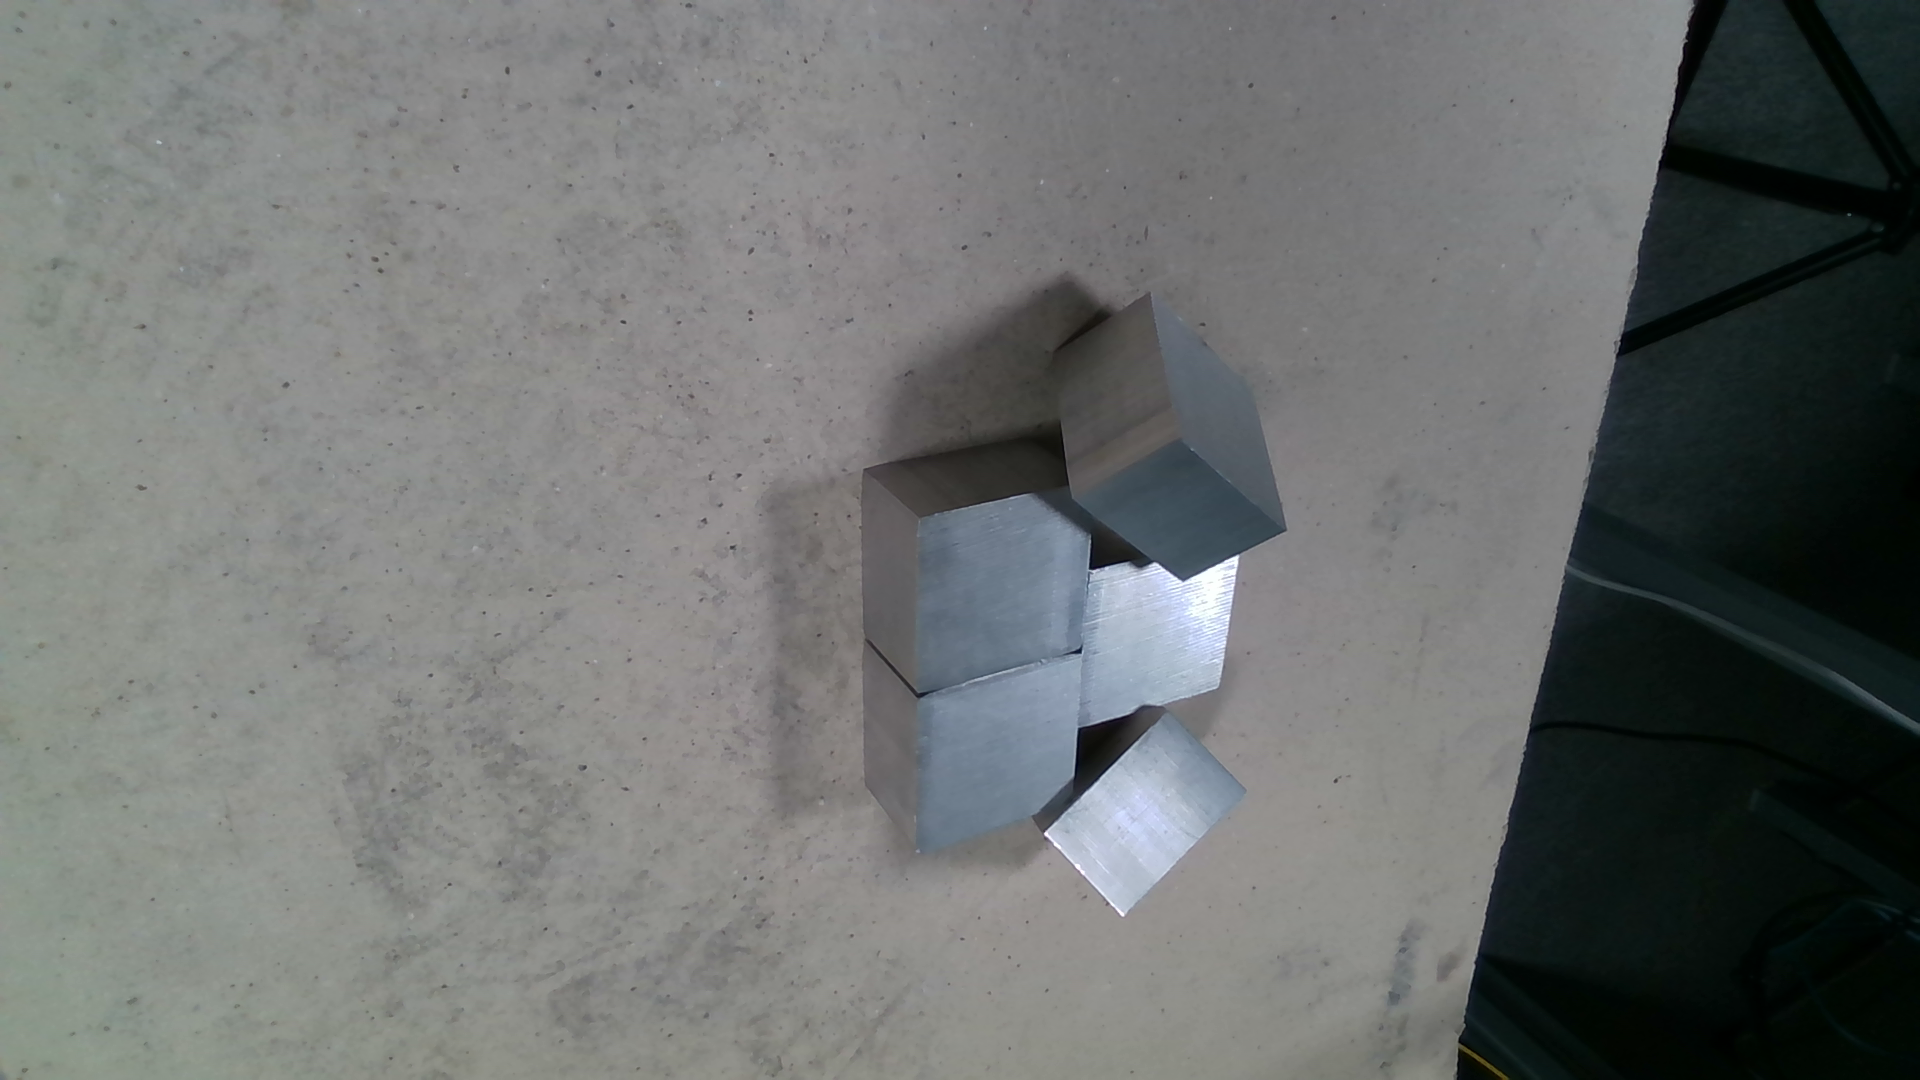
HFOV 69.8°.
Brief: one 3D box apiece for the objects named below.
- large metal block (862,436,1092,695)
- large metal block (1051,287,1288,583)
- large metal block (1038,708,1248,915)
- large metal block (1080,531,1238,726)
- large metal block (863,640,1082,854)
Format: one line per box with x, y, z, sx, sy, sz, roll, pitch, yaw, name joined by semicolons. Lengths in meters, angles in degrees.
0.007;0.008;0.573;0.080;0.050;0.080;-13;121;-25;large metal block
0.085;-0.042;0.566;0.050;0.080;0.080;-29;136;29;large metal block
0.082;0.124;0.654;0.080;0.080;0.050;-44;89;-4;large metal block
0.076;0.030;0.628;0.080;0.050;0.080;-12;120;-26;large metal block
0.004;0.081;0.609;0.080;0.050;0.080;-13;121;-25;large metal block
